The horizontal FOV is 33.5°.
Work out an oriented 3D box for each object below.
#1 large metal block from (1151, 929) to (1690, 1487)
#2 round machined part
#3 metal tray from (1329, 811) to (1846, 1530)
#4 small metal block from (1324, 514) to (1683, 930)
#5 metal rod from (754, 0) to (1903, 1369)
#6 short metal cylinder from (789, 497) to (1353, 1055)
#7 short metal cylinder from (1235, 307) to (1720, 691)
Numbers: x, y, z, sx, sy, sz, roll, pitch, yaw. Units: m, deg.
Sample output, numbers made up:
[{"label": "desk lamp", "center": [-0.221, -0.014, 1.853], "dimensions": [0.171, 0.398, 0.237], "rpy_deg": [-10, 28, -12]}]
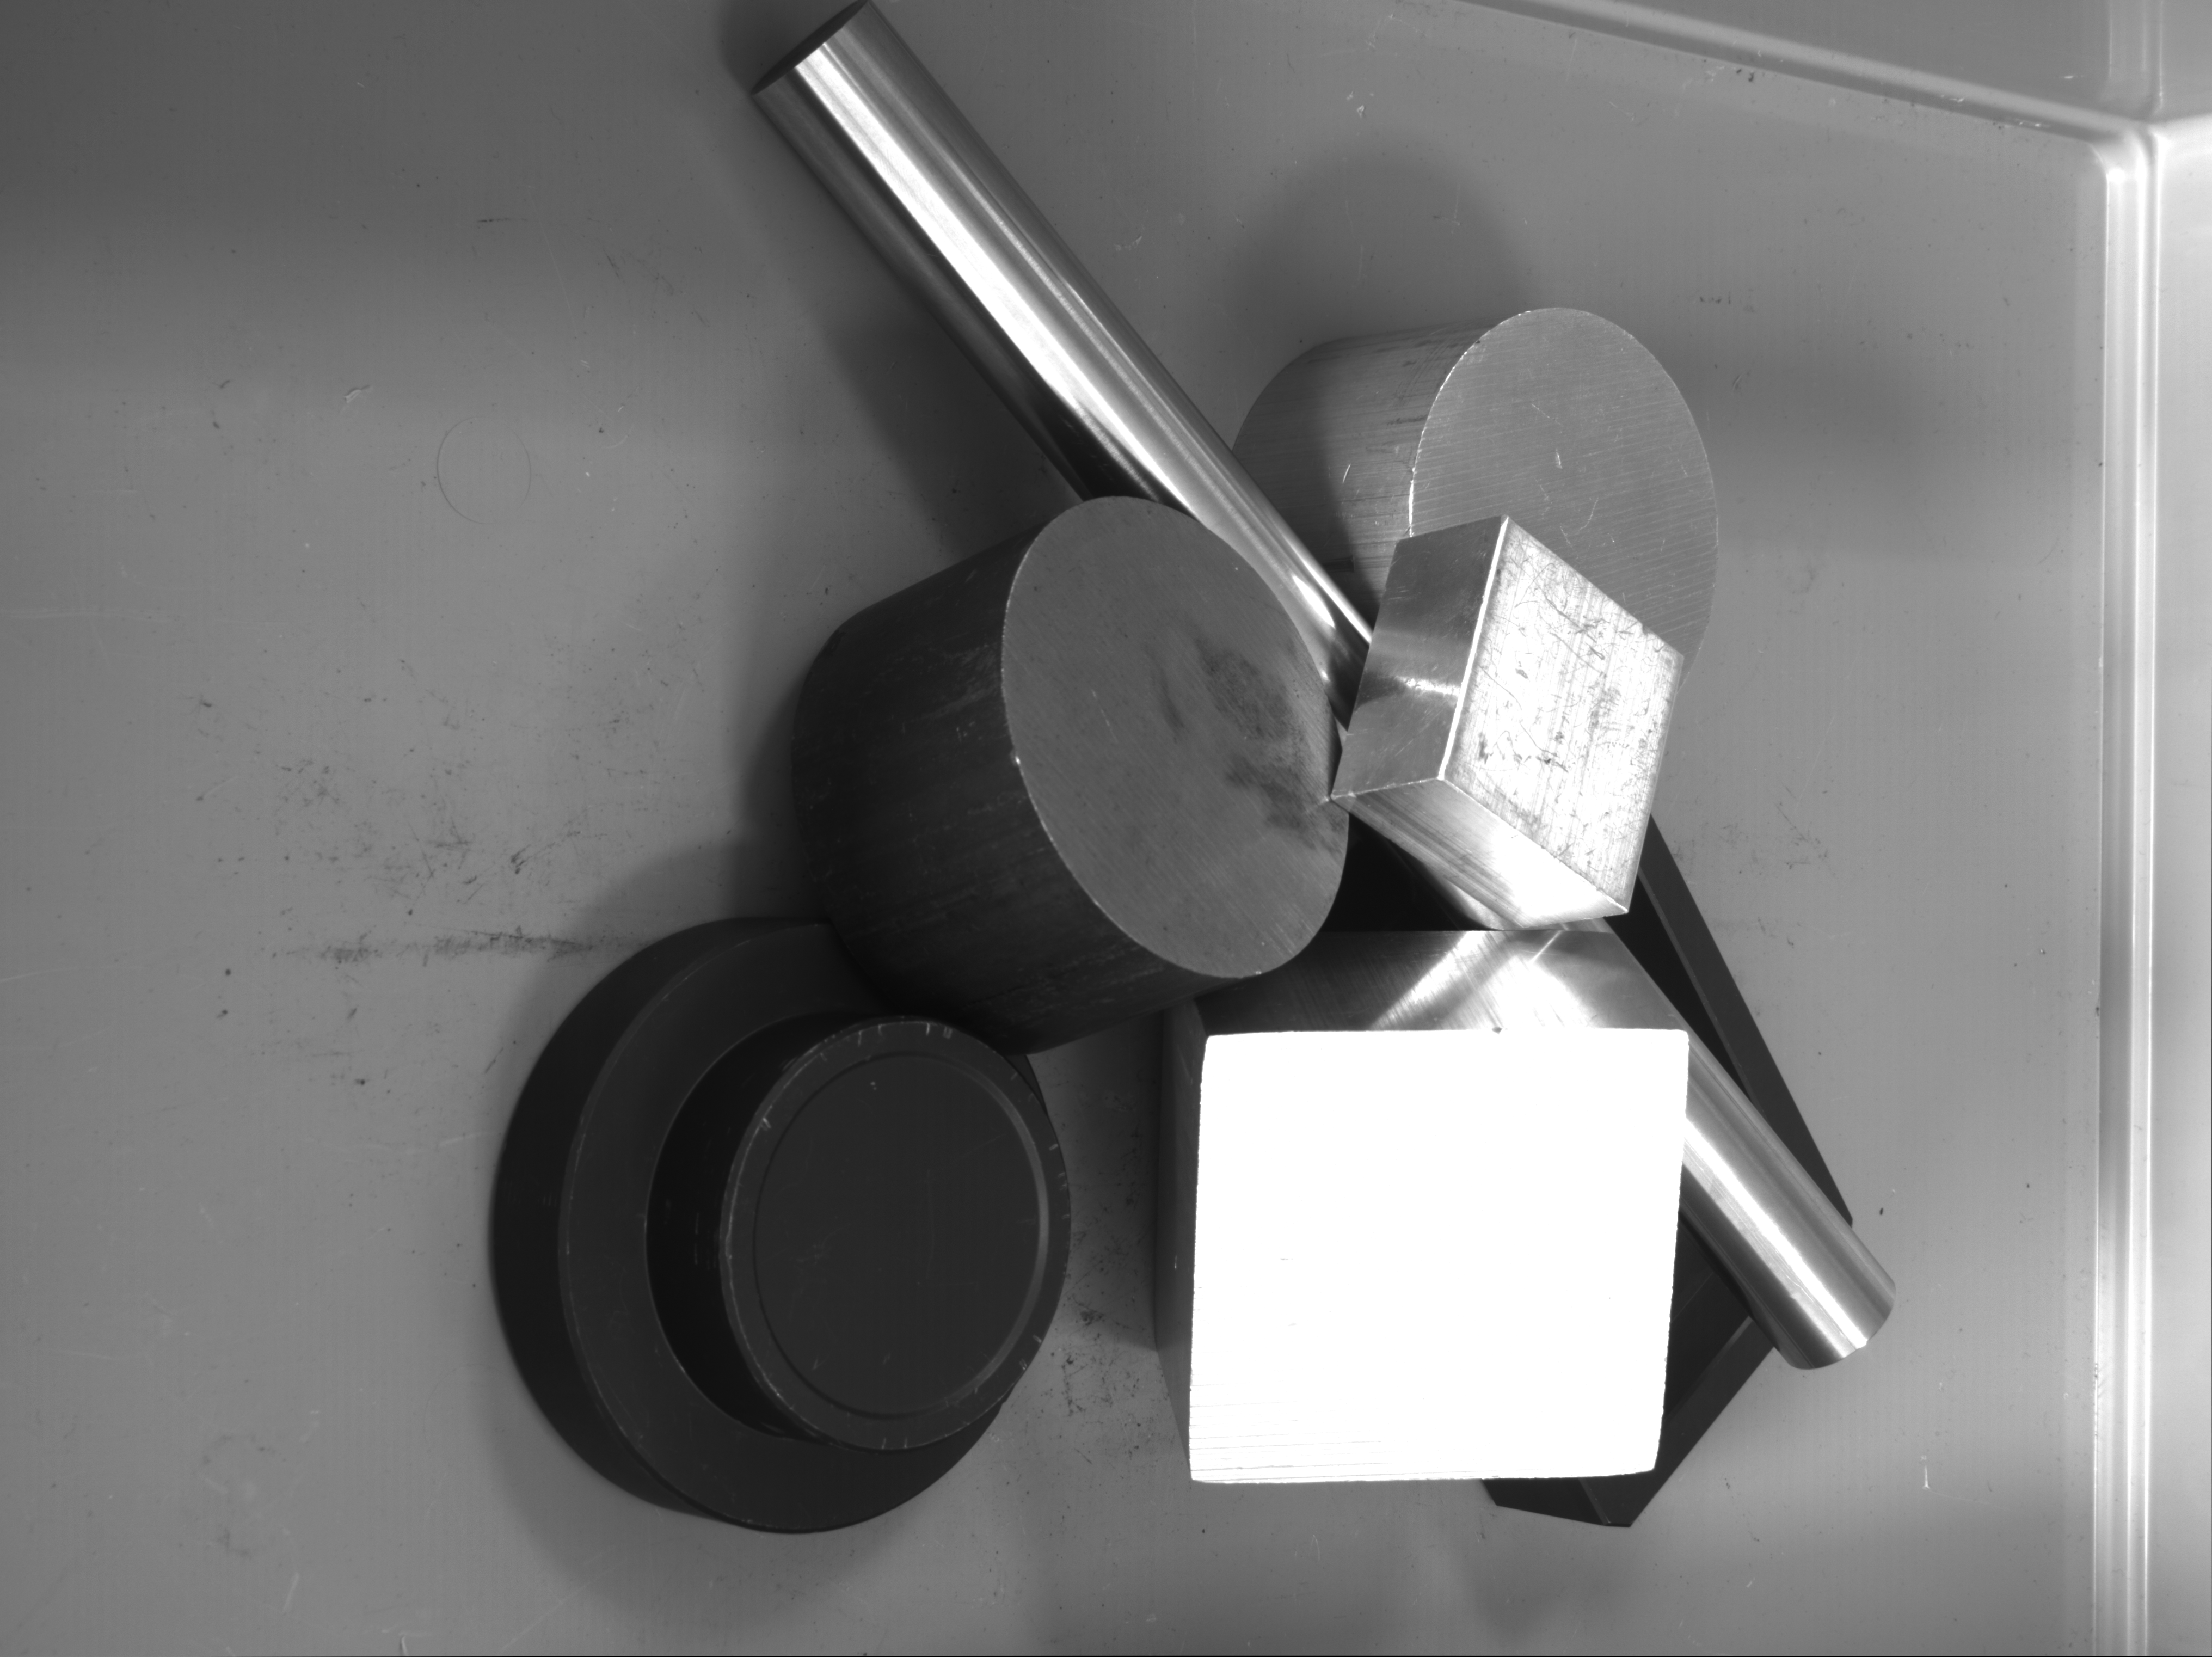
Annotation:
[{"label": "large metal block", "center": [0.051, 0.063, 0.627], "dimensions": [0.080, 0.050, 0.080], "rpy_deg": [-1, 107, -7]}, {"label": "round machined part", "center": [-0.044, 0.064, 0.586], "dimensions": [0.098, 0.042, 0.098], "rpy_deg": [0, 90, -40]}, {"label": "metal tray", "center": [0.086, 0.057, 0.702], "dimensions": [0.090, 0.030, 0.130], "rpy_deg": [-44, 116, -31]}, {"label": "small metal block", "center": [0.068, -0.017, 0.623], "dimensions": [0.050, 0.025, 0.050], "rpy_deg": [33, 62, -34]}, {"label": "metal rod", "center": [0.045, -0.018, 0.640], "dimensions": [0.300, 0.025, 0.025], "rpy_deg": [50, 60, -18]}, {"label": "short metal cylinder", "center": [-0.005, -0.008, 0.600], "dimensions": [0.080, 0.050, 0.080], "rpy_deg": [22, 58, -41]}, {"label": "short metal cylinder", "center": [0.067, -0.053, 0.675], "dimensions": [0.080, 0.050, 0.080], "rpy_deg": [0, 90, -40]}]
